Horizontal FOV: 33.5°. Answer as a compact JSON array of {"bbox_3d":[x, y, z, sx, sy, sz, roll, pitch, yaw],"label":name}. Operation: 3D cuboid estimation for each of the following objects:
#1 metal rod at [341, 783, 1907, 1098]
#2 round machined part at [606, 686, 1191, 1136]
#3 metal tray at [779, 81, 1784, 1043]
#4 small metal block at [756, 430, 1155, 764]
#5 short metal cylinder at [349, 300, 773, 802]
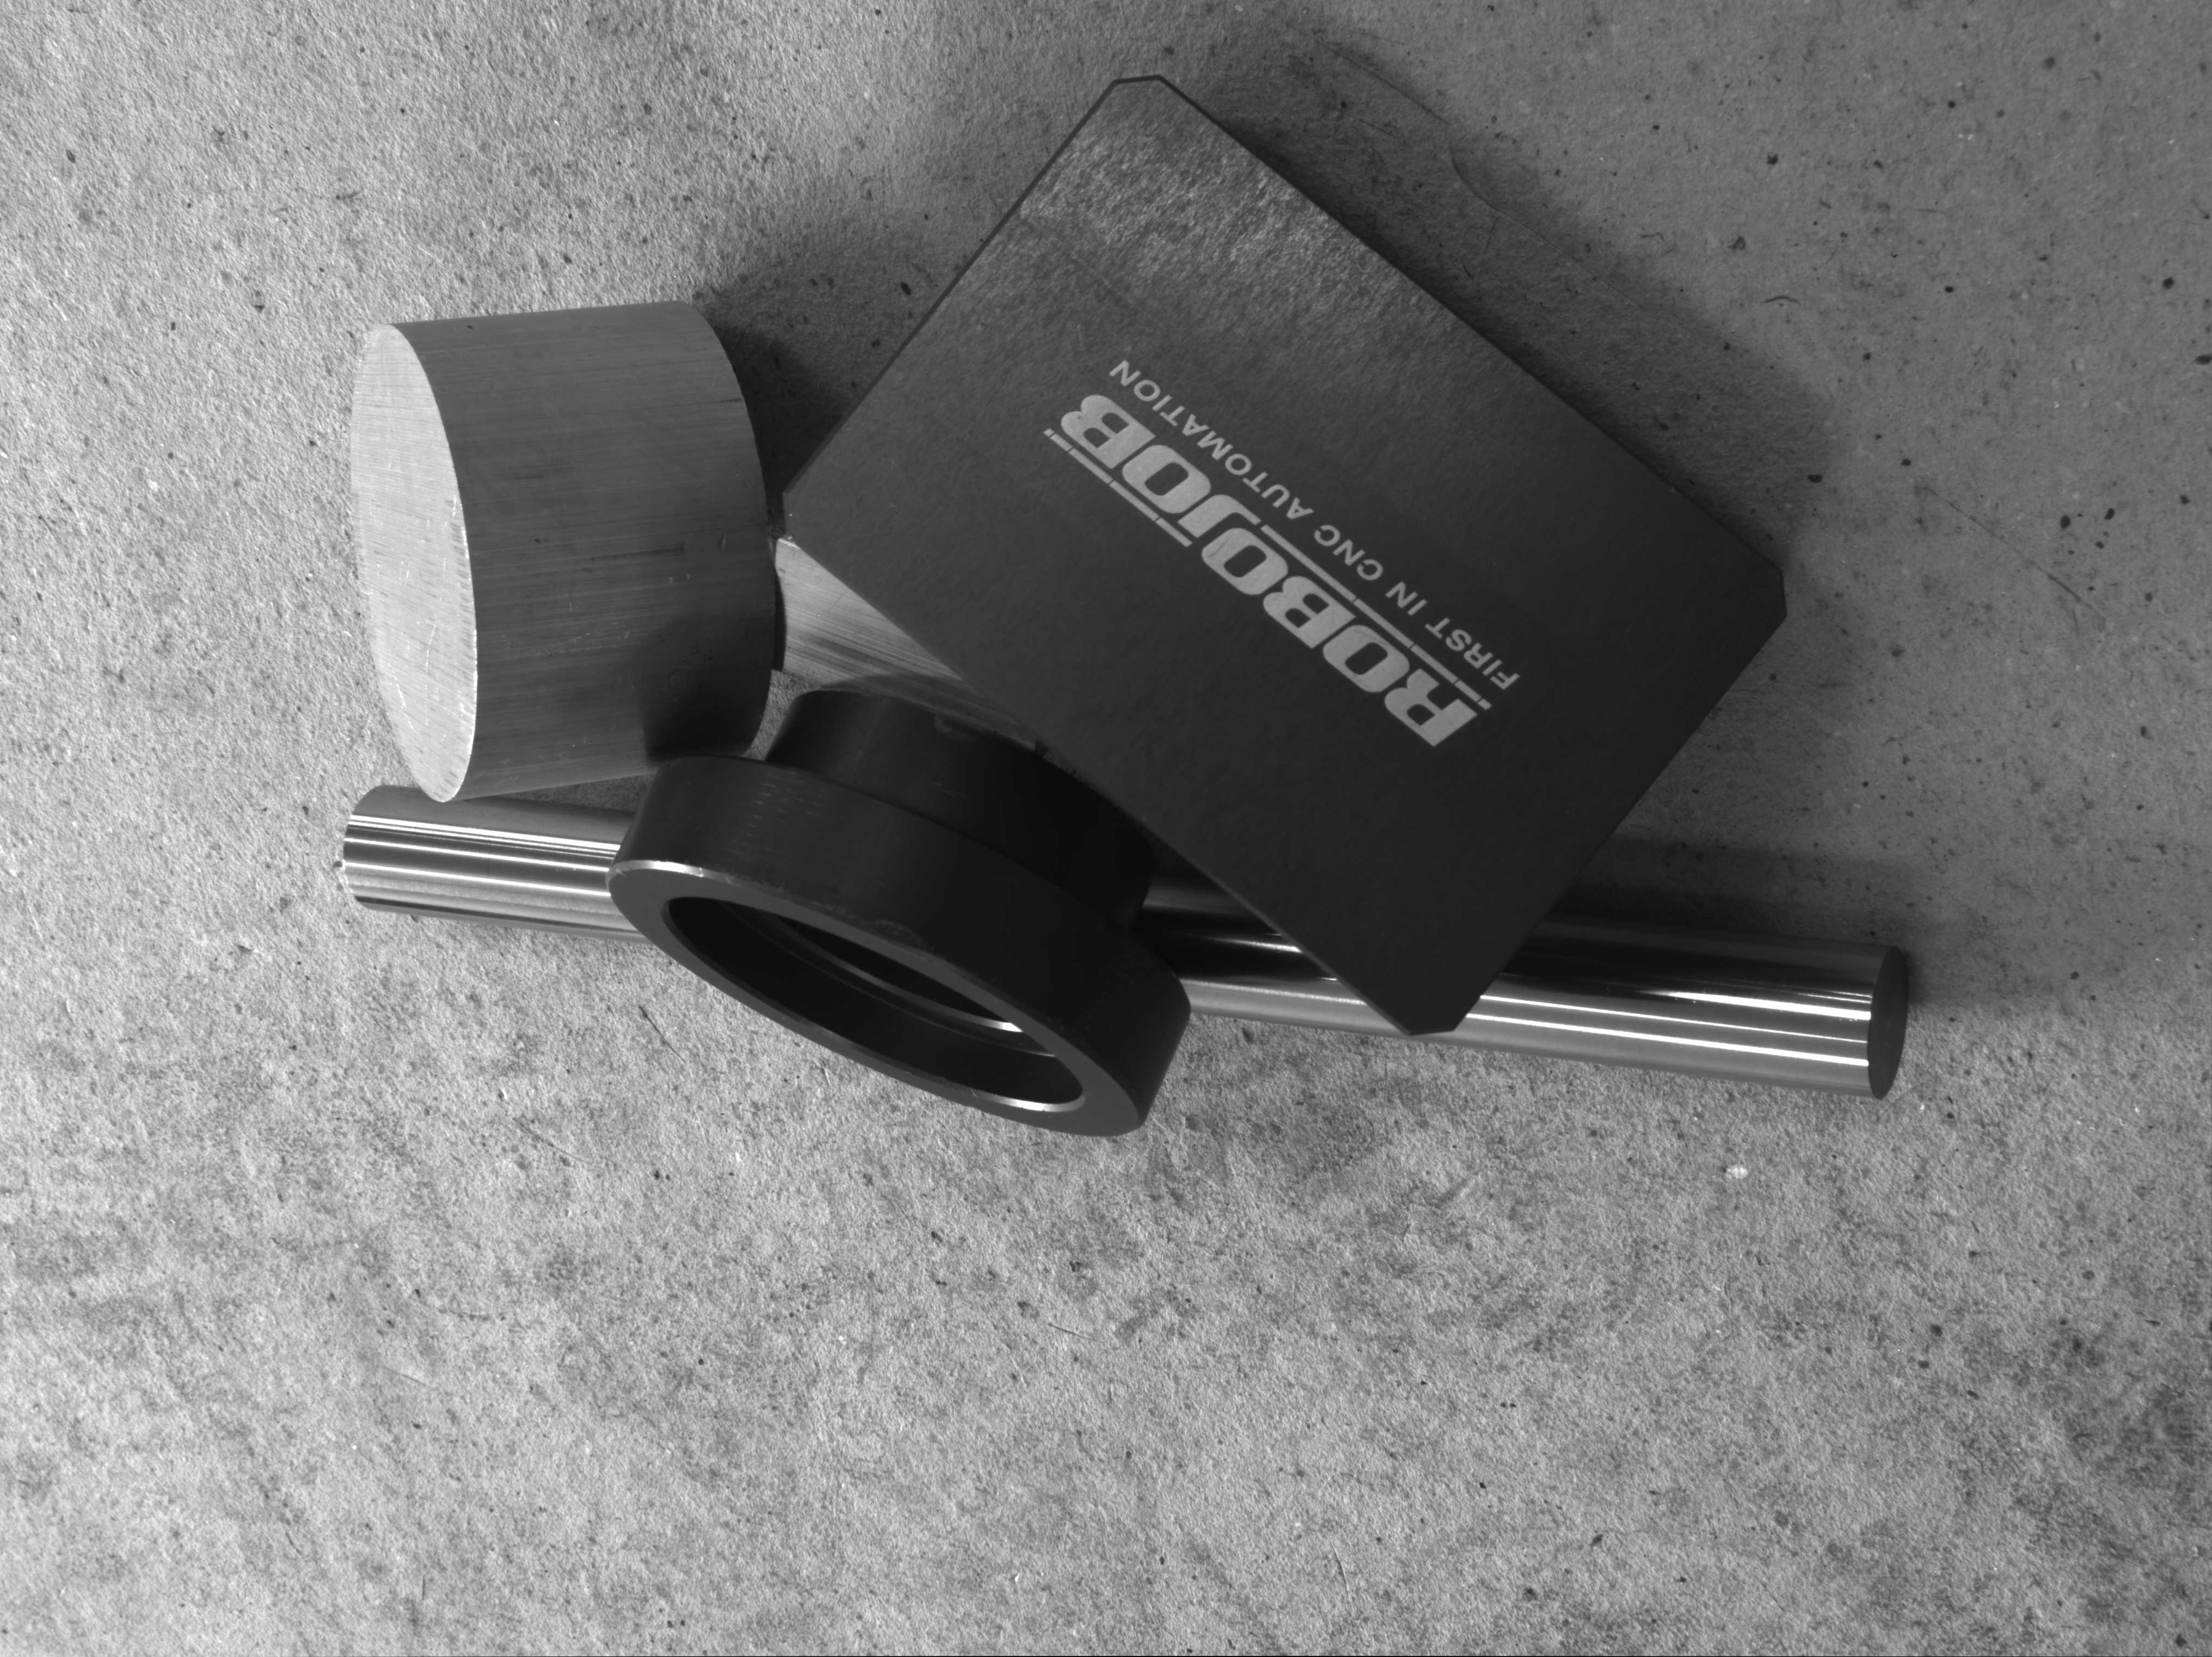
[{"bbox_3d":[-0.008,0.017,0.658,0.299,0.025,0.025,6,121,25],"label":"metal rod"},{"bbox_3d":[-0.030,0.011,0.615,0.098,0.042,0.098,22,163,7],"label":"round machined part"},{"bbox_3d":[0.027,-0.040,0.568,0.130,0.030,0.090,39,91,2],"label":"metal tray"},{"bbox_3d":[-0.023,-0.039,0.613,0.050,0.050,0.025,22,126,16],"label":"small metal block"},{"bbox_3d":[-0.094,-0.048,0.623,0.080,0.050,0.080,171,90,-67],"label":"short metal cylinder"}]
